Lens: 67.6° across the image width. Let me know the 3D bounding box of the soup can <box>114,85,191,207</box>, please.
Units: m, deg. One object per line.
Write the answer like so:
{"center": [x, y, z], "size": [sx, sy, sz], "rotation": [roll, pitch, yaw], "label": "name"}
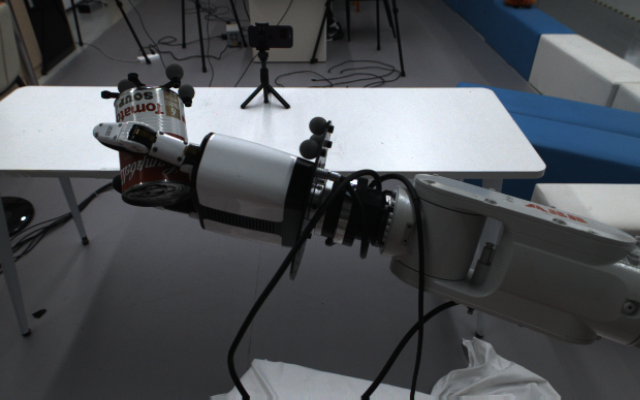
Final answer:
{"center": [-0.163, -0.051, 0.480], "size": [0.067, 0.067, 0.101], "rotation": [-8, 73, -14], "label": "soup can"}
